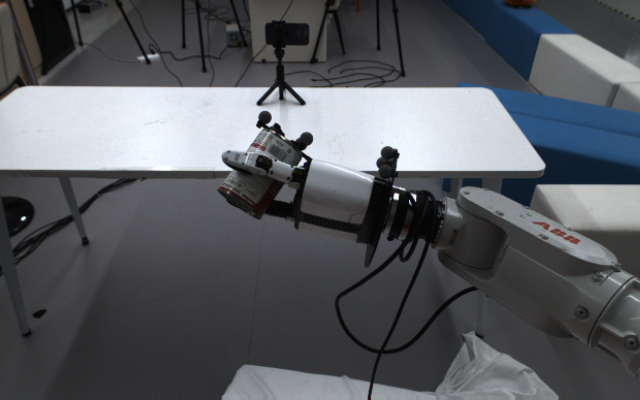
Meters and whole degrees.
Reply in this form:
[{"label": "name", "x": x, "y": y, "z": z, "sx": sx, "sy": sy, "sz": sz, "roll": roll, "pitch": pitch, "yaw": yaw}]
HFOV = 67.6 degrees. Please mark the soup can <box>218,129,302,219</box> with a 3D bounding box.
[{"label": "soup can", "x": -0.077, "y": -0.034, "z": 0.639, "sx": 0.067, "sy": 0.067, "sz": 0.101, "roll": 26, "pitch": 76, "yaw": 30}]
